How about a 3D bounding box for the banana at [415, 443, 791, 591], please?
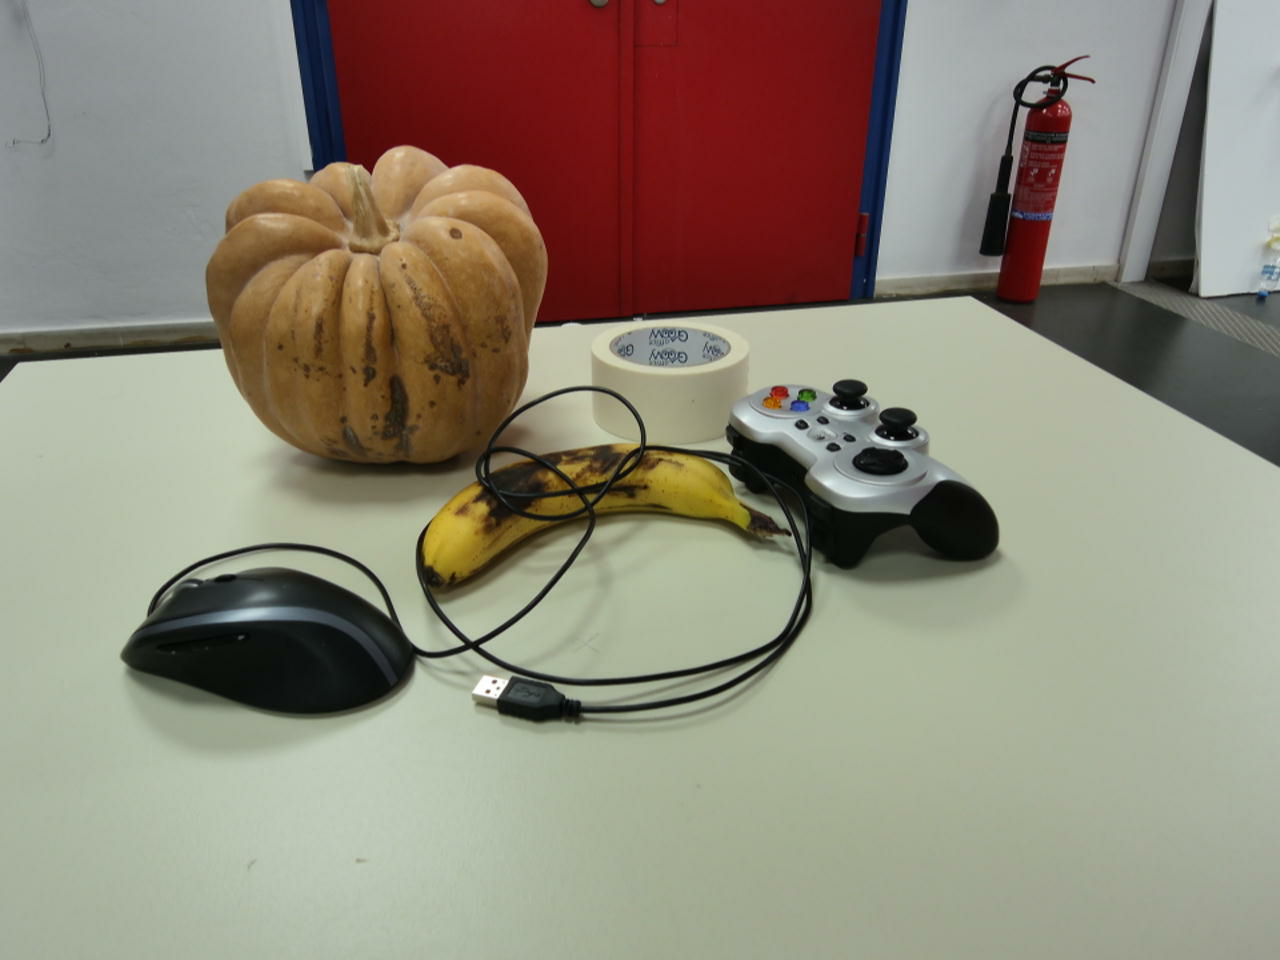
[{"bbox_3d":[-0.026,0.014,0.525,0.187,0.039,0.094,-6,26,-13],"label":"banana"}]
